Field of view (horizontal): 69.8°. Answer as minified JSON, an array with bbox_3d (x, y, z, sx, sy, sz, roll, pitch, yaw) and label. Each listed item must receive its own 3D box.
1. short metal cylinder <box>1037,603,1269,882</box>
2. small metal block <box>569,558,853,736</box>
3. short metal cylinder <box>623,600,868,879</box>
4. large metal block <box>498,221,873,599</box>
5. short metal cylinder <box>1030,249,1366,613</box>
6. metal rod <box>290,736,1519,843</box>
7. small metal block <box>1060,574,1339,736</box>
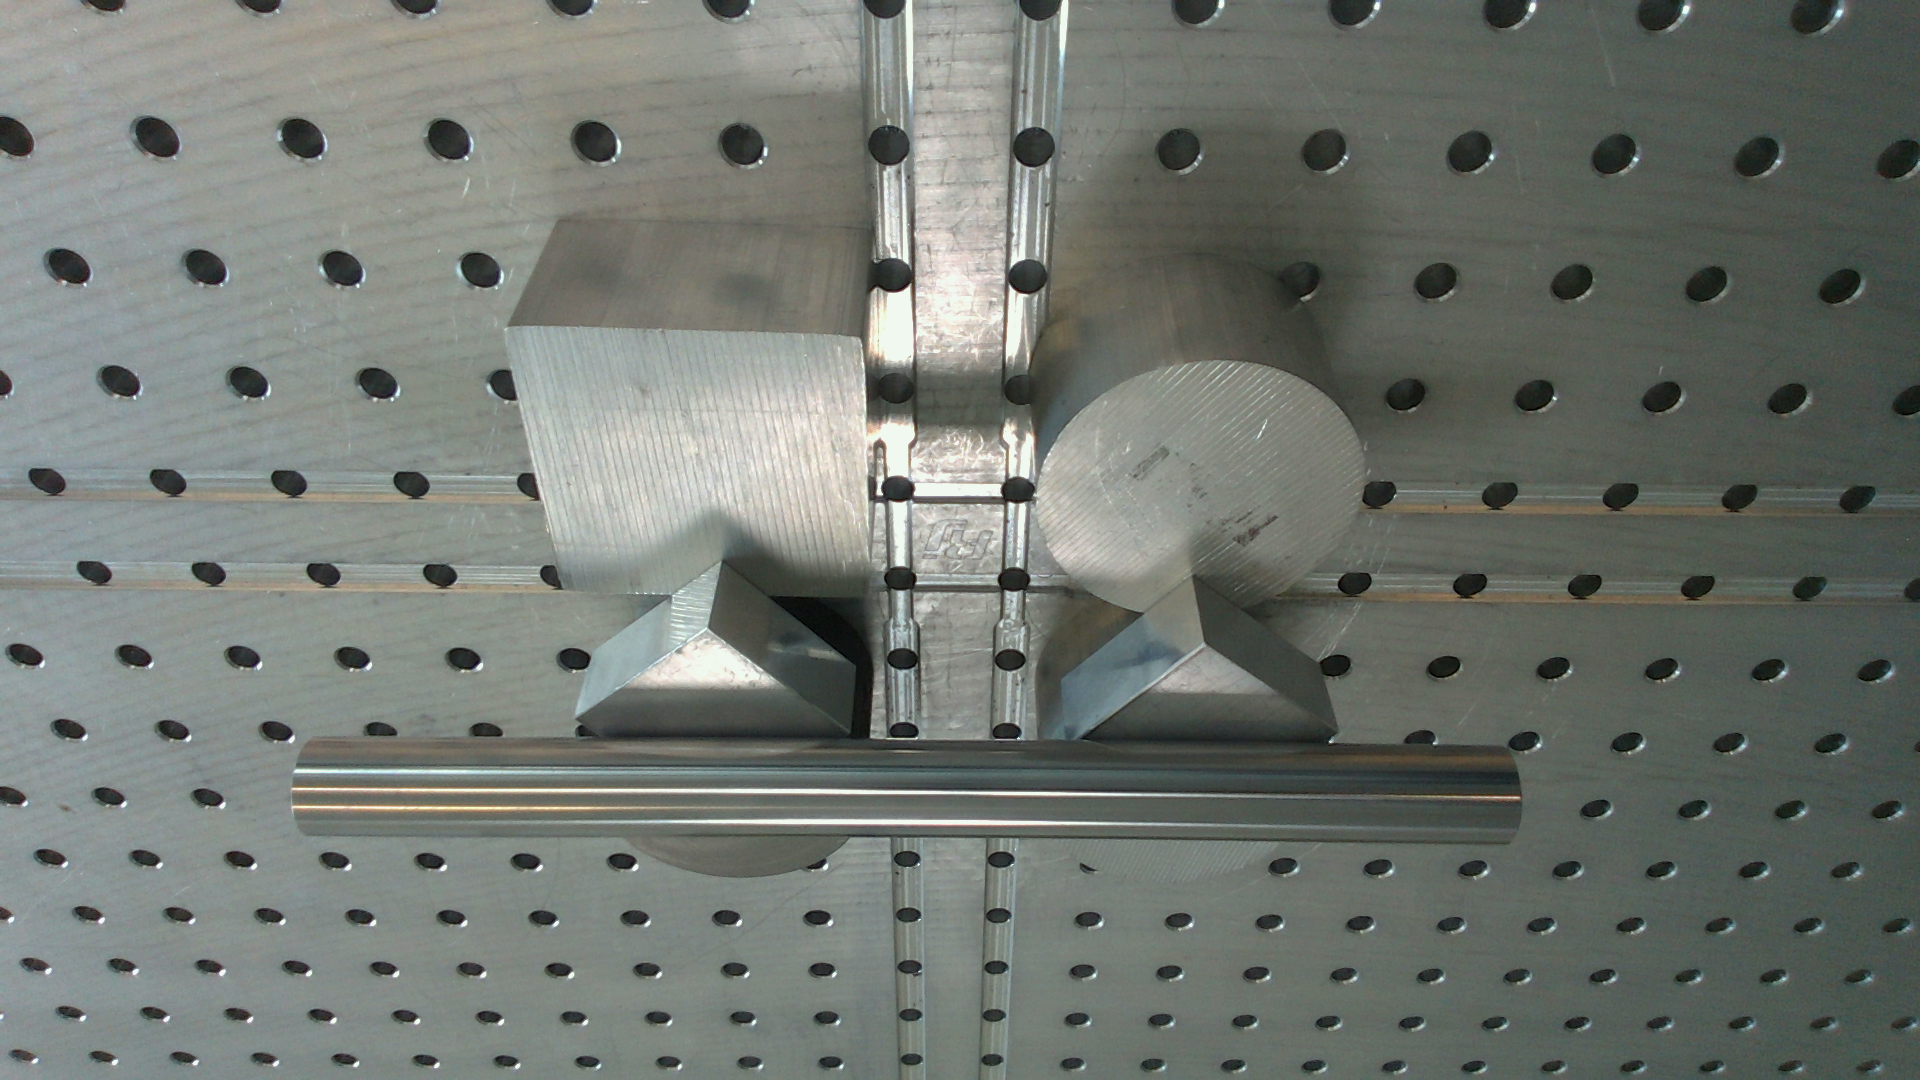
[{"bbox_3d":[0.064,0.062,0.430,0.080,0.050,0.080,0,130,0],"label":"short metal cylinder"},{"bbox_3d":[-0.064,0.040,0.362,0.050,0.025,0.050,-33,123,24],"label":"small metal block"},{"bbox_3d":[-0.069,0.060,0.427,0.080,0.050,0.080,0,130,0],"label":"short metal cylinder"},{"bbox_3d":[-0.063,-0.032,0.349,0.080,0.050,0.080,1,130,-1],"label":"large metal block"},{"bbox_3d":[0.059,-0.027,0.355,0.080,0.050,0.080,0,130,0],"label":"short metal cylinder"},{"bbox_3d":[-0.013,0.063,0.348,0.300,0.025,0.025,0,130,-1],"label":"metal rod"},{"bbox_3d":[0.062,0.044,0.366,0.050,0.025,0.050,33,123,-25],"label":"small metal block"}]
